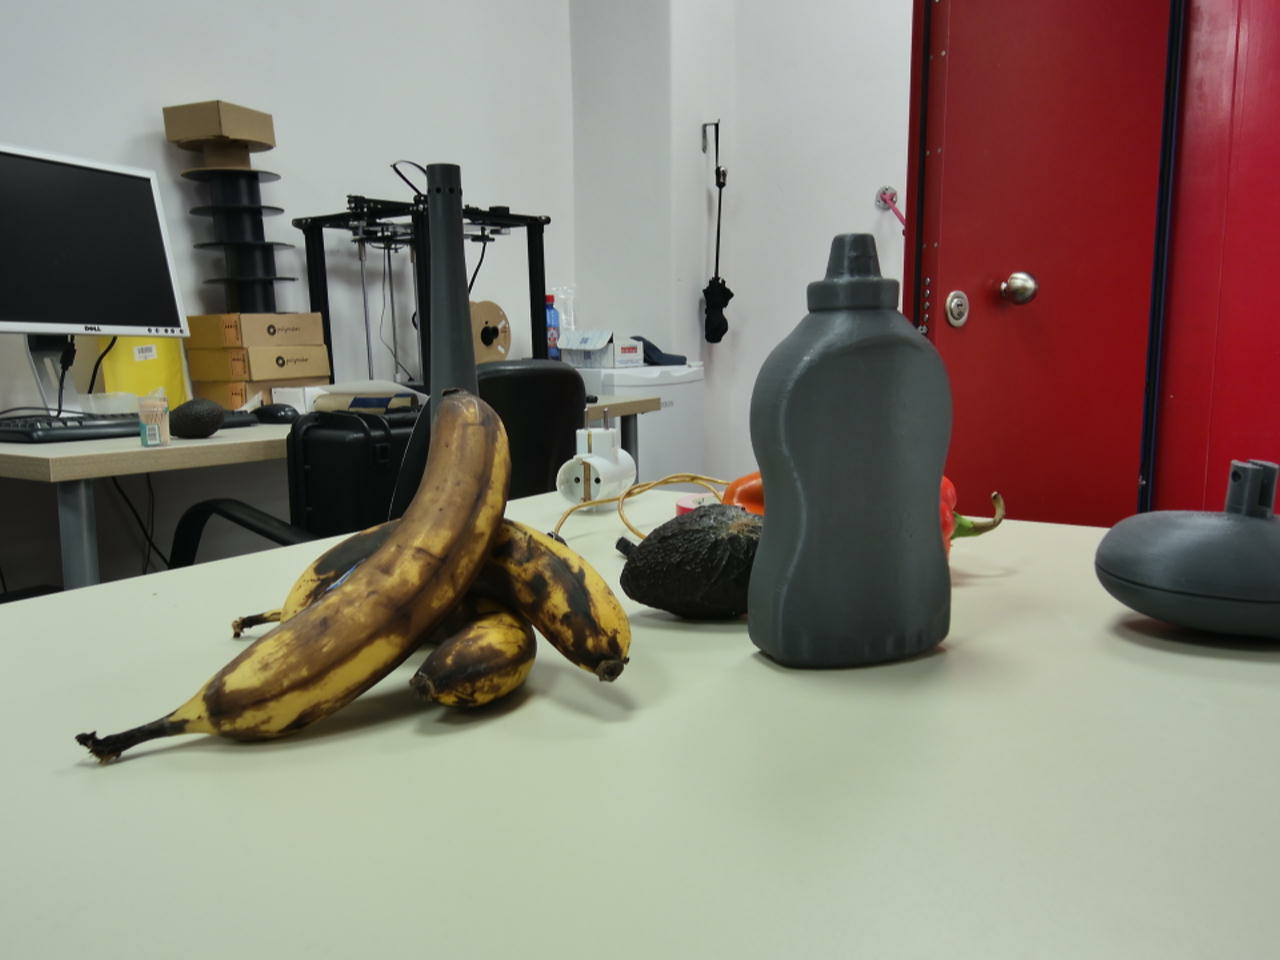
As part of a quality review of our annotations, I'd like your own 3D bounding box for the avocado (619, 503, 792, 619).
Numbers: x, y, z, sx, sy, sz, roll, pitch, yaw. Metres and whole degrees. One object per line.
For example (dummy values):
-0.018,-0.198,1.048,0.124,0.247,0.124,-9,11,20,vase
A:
0.036,0.044,0.545,0.092,0.062,0.062,2,6,12,avocado
